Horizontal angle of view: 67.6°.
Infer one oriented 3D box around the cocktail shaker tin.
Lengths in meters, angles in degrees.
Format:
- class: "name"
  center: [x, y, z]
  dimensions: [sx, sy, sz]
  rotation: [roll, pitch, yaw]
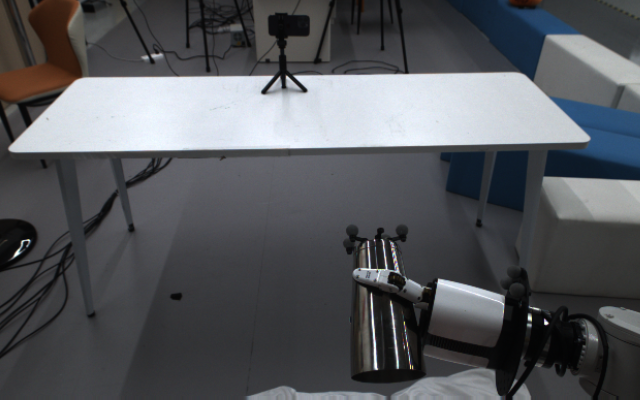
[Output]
- class: "cocktail shaker tin"
  center: [0.082, 0.139, 0.625]
  dimensions: [0.093, 0.093, 0.170]
  rotation: [0, 57, -4]
